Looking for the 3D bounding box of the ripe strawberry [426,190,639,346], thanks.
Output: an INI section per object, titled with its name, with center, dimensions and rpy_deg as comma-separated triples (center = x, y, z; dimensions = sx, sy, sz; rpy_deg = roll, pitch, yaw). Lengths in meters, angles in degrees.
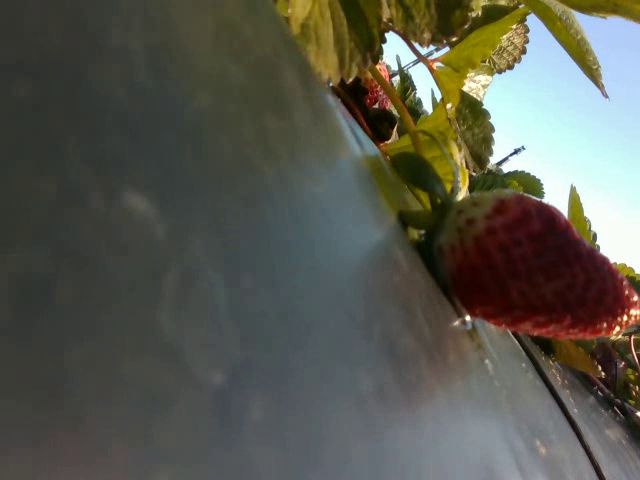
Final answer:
[ripe strawberry]
center = 0.038, 0.007, 0.106
dimensions = 0.041, 0.031, 0.028
rpy_deg = 26, 18, 33
